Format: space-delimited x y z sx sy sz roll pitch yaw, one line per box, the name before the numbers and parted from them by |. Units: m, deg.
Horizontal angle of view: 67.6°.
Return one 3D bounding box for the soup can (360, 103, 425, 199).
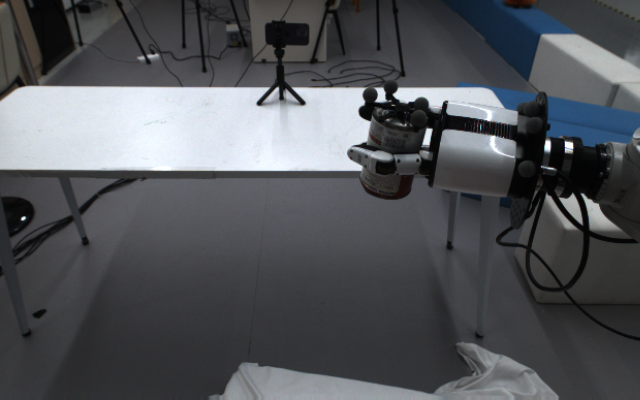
soup can | 0.091 -0.061 0.598 0.067 0.101 0.067 5 37 -3
